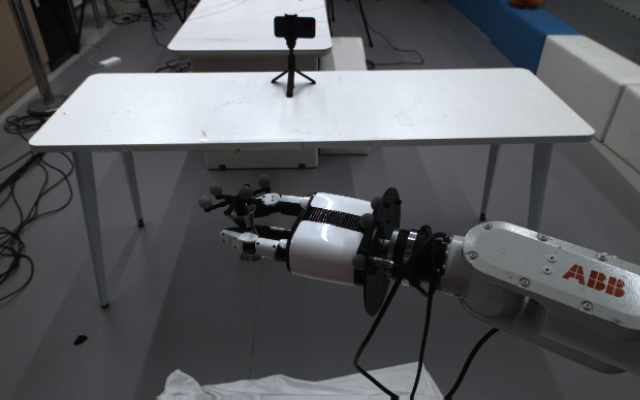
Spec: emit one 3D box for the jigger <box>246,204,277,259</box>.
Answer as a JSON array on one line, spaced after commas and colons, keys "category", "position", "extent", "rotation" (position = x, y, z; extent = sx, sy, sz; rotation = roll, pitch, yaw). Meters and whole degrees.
[{"category": "jigger", "position": [-0.095, 0.044, 0.653], "extent": [0.043, 0.071, 0.043], "rotation": [-12, 24, 5]}]
